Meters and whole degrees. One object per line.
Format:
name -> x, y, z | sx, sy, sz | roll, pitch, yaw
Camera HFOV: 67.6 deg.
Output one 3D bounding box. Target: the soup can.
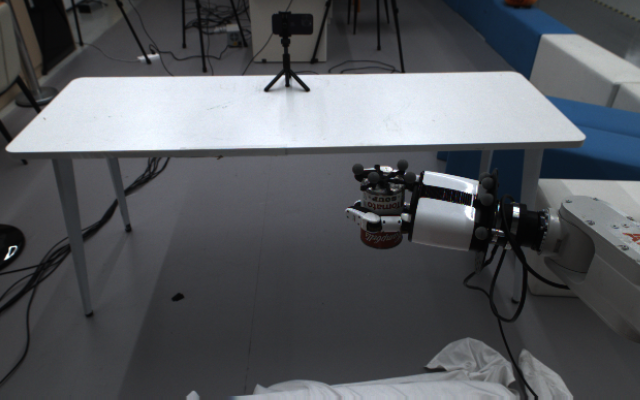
soup can -> 0.097, 0.015, 0.748 | 0.067, 0.101, 0.067 | -2, 33, 1
